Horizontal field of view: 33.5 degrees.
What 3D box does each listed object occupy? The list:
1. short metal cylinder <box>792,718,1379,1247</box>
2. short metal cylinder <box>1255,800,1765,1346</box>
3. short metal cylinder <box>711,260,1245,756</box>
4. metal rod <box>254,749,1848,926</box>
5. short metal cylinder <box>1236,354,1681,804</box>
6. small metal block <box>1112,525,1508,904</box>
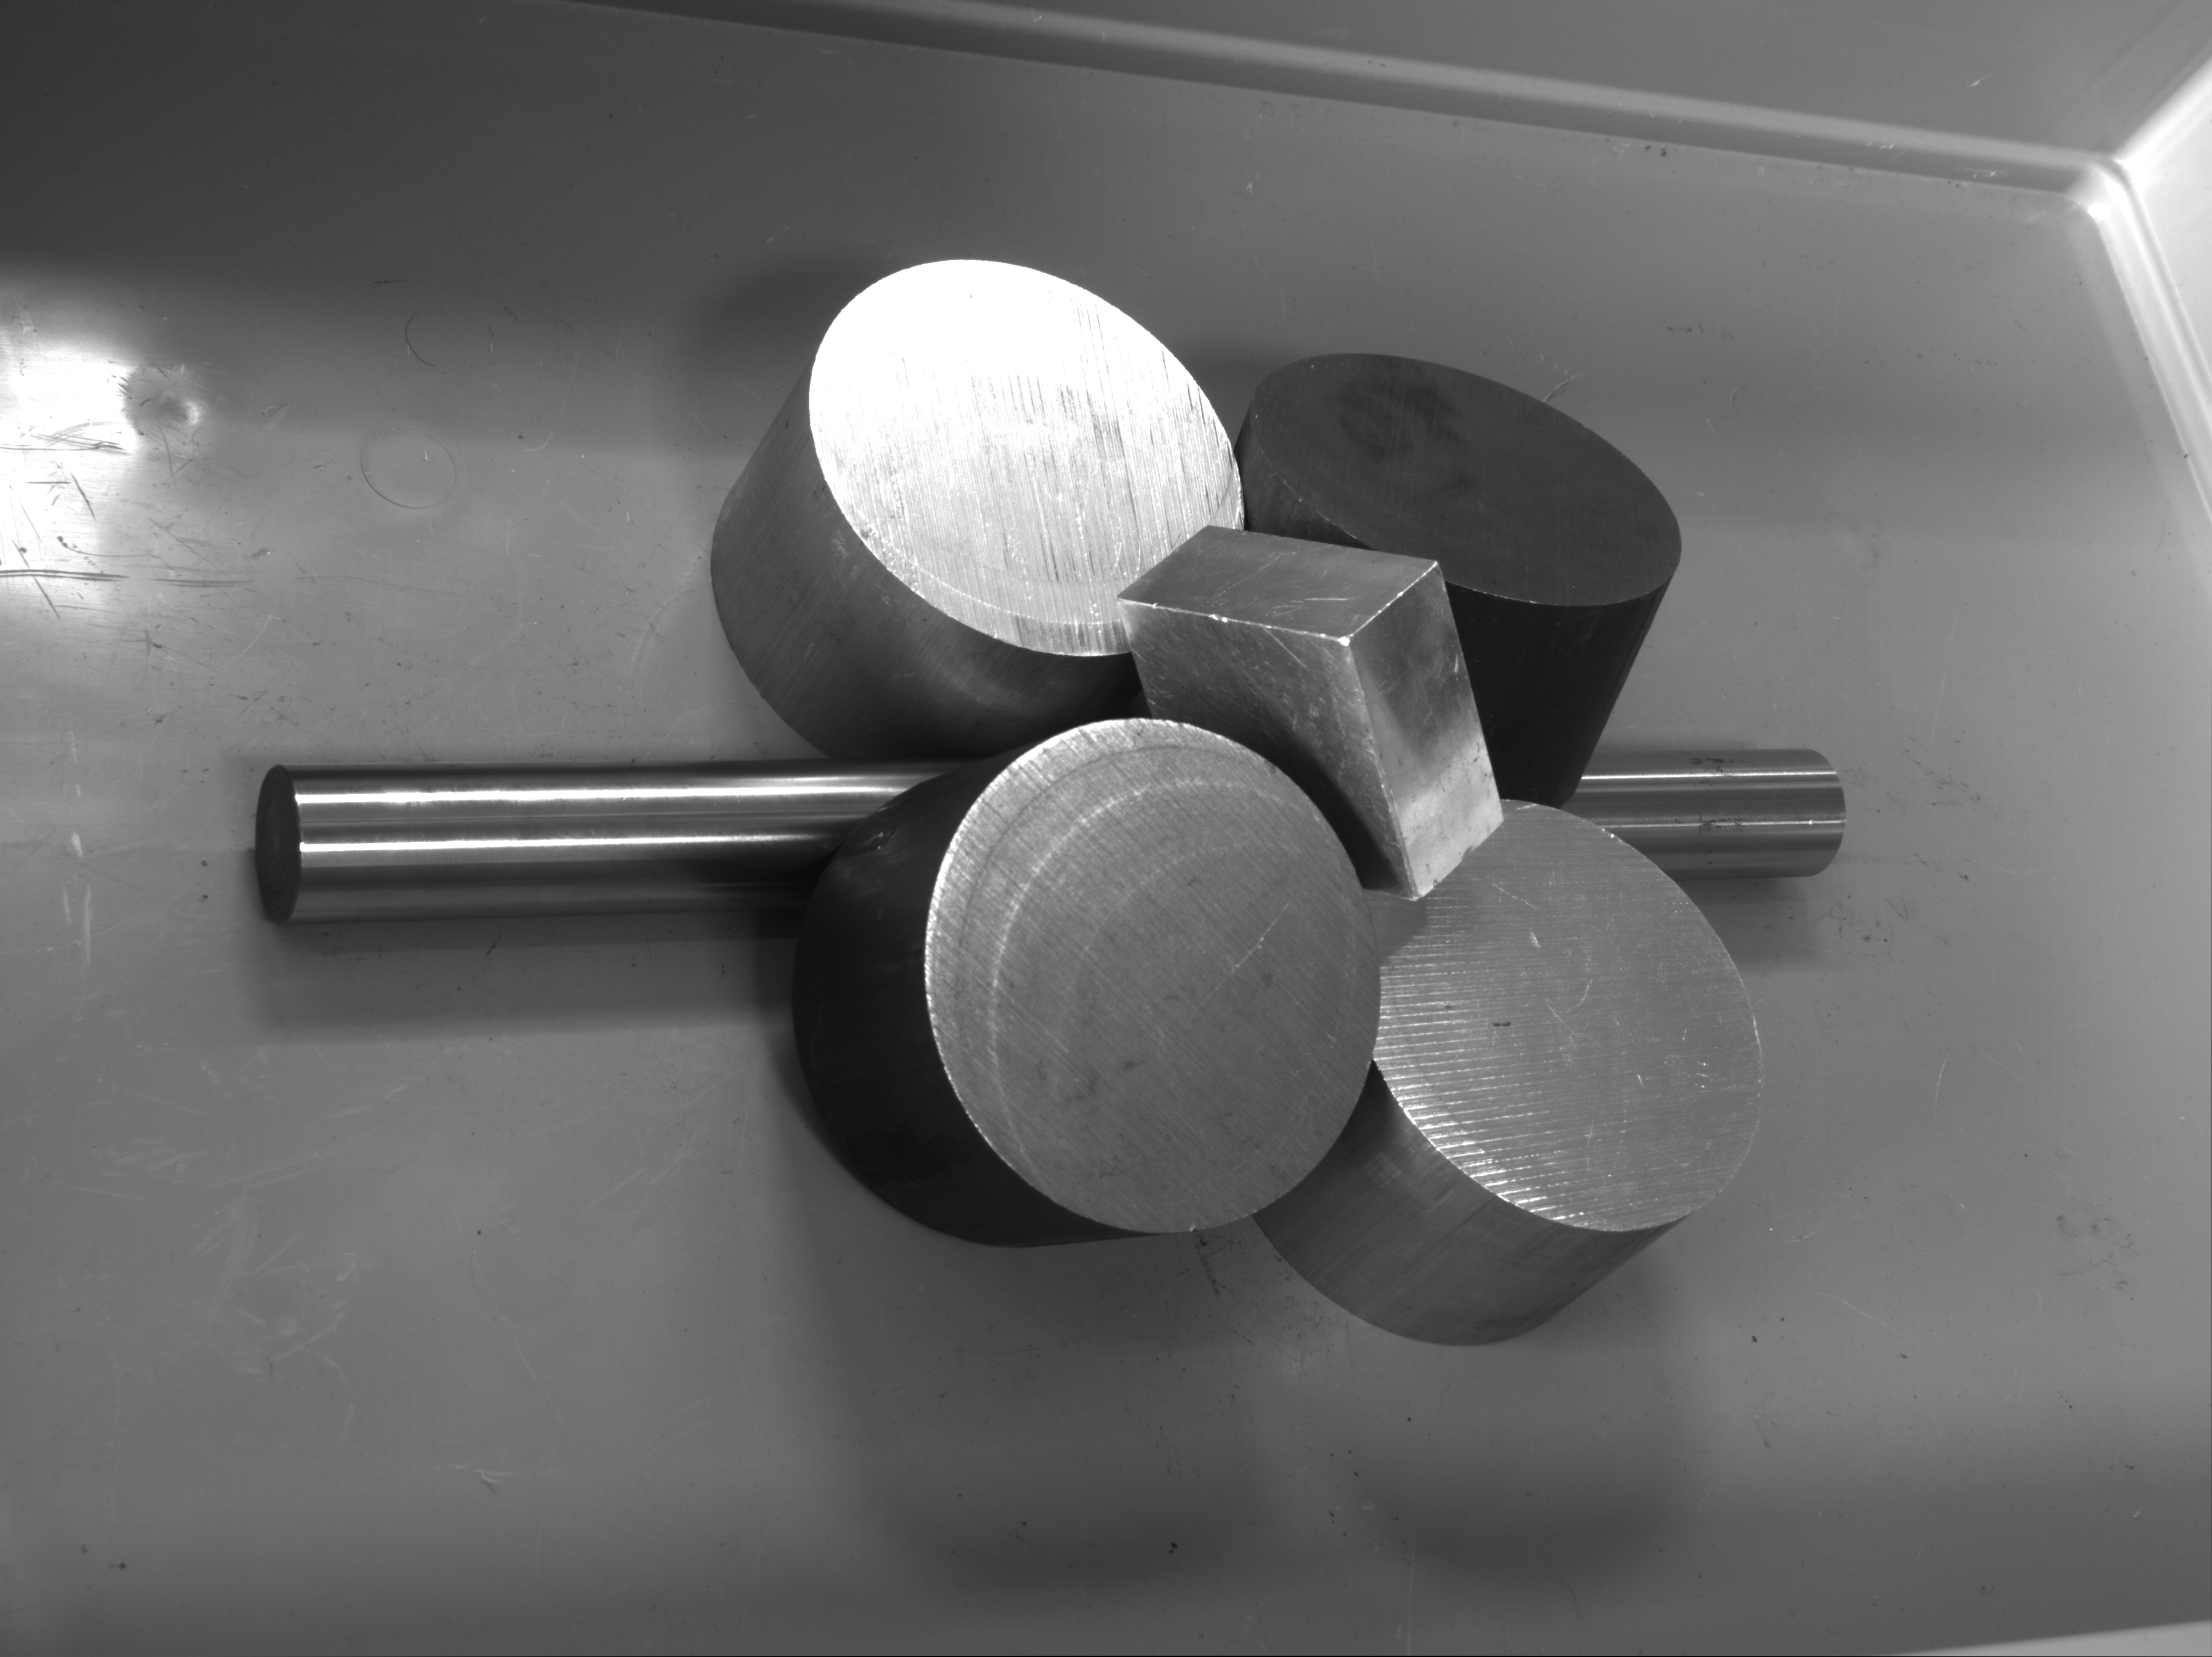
[{"bbox_3d":[-0.004,0.026,0.589,0.080,0.050,0.080,5,79,-28],"label":"short metal cylinder"},{"bbox_3d":[0.065,0.042,0.631,0.080,0.050,0.080,13,56,-21],"label":"short metal cylinder"},{"bbox_3d":[-0.023,-0.052,0.641,0.080,0.050,0.080,13,56,-21],"label":"short metal cylinder"},{"bbox_3d":[0.004,0.000,0.640,0.301,0.025,0.025,-1,62,-29],"label":"metal rod"},{"bbox_3d":[0.057,-0.043,0.661,0.080,0.050,0.080,14,34,-9],"label":"short metal cylinder"},{"bbox_3d":[0.034,-0.019,0.606,0.025,0.050,0.050,-41,127,-33],"label":"small metal block"}]
